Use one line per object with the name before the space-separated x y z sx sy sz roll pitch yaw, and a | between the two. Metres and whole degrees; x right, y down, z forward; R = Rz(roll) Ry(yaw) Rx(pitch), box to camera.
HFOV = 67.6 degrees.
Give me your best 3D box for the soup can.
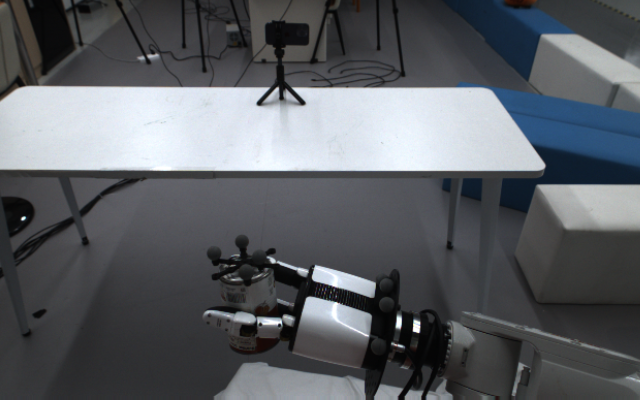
soup can | -0.083 0.128 0.594 0.067 0.101 0.067 -4 21 1
